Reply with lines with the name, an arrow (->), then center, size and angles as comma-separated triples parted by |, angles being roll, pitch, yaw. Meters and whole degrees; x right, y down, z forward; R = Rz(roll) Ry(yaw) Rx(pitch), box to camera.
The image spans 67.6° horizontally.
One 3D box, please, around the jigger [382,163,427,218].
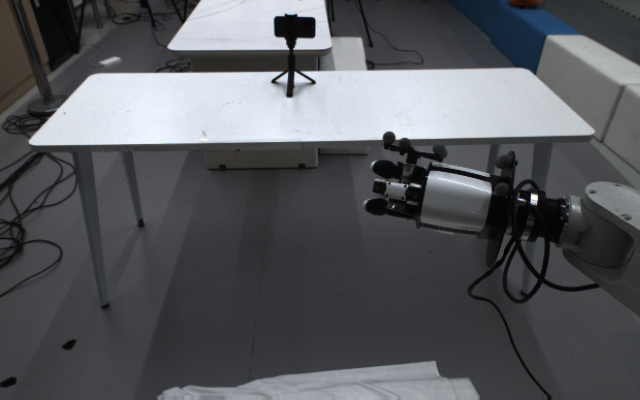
jigger -> 0.122, -0.017, 0.681 | 0.043, 0.071, 0.043 | 14, 1, 0
